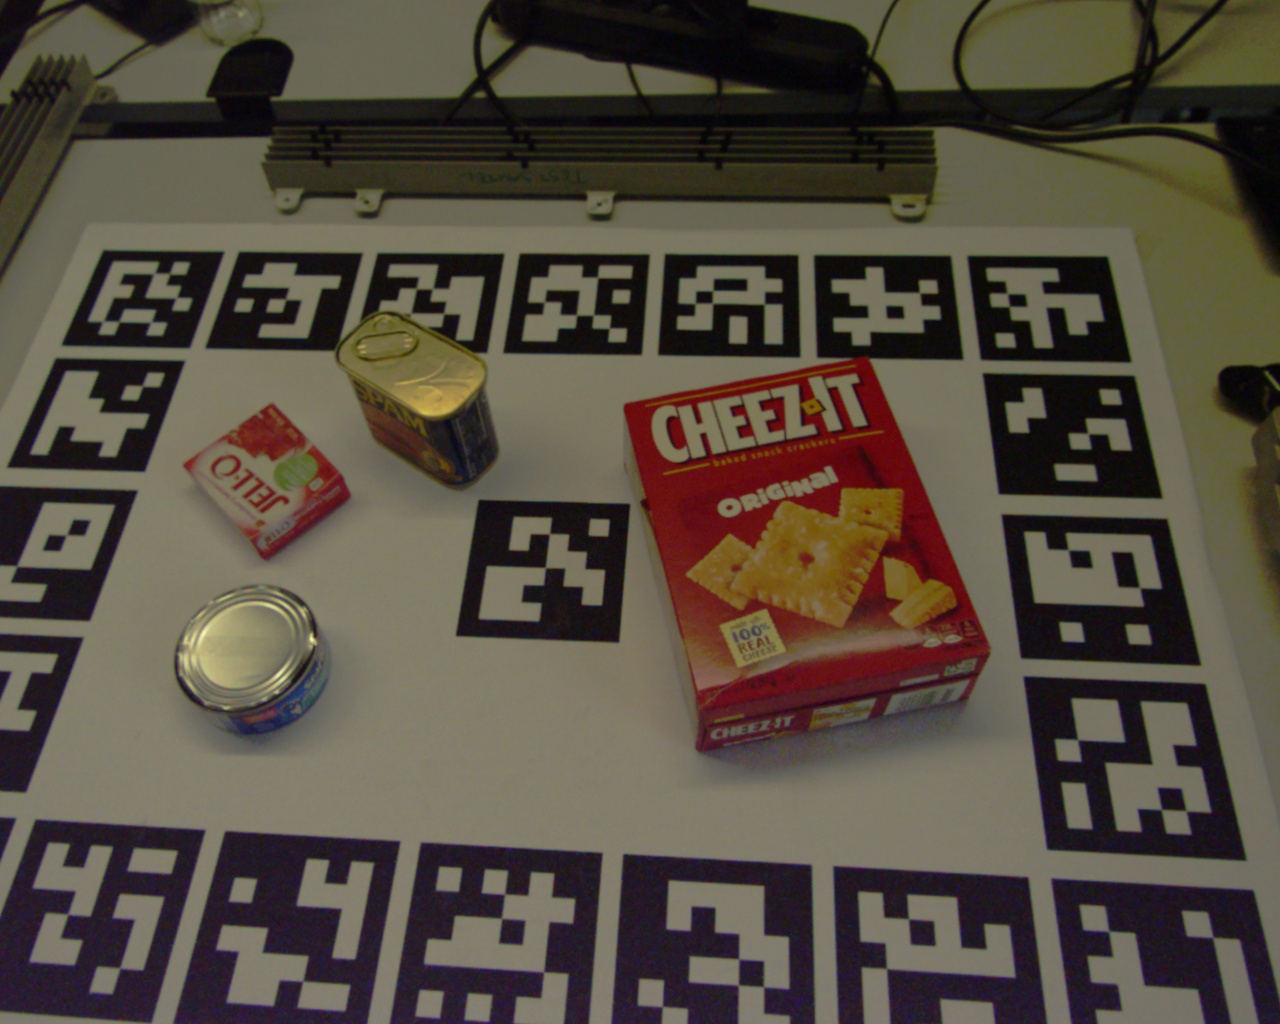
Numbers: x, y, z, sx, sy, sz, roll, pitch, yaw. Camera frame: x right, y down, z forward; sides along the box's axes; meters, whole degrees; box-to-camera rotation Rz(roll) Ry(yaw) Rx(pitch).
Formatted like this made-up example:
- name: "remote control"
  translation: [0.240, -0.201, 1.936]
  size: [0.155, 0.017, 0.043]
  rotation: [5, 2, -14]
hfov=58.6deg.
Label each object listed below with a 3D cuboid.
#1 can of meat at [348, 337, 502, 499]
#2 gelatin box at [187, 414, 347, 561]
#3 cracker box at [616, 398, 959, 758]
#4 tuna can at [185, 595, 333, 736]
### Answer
- name: "can of meat"
  translation: [-0.150, -0.064, 0.812]
  size: [0.103, 0.083, 0.057]
  rotation: [28, 61, 21]
- name: "gelatin box"
  translation: [-0.264, -0.019, 0.811]
  size: [0.073, 0.030, 0.090]
  rotation: [-38, 64, -24]
- name: "cracker box"
  translation: [0.085, 0.034, 0.735]
  size: [0.164, 0.071, 0.215]
  rotation: [-11, 54, -6]
- name: "tuna can"
  translation: [-0.240, 0.098, 0.724]
  size: [0.086, 0.033, 0.086]
  rotation: [-2, 59, 3]
